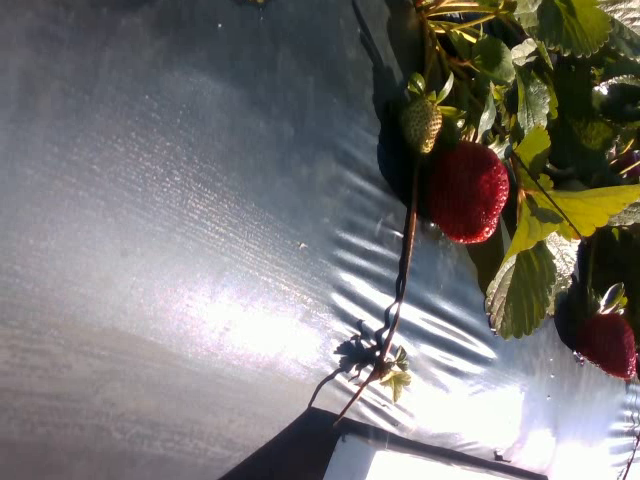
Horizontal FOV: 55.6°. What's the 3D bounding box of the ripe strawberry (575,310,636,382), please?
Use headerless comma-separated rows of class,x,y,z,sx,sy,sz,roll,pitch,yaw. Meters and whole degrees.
ripe strawberry,0.186,0.072,0.387,0.043,0.043,0.050,-13,33,4

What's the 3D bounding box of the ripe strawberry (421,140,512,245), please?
ripe strawberry,0.061,-0.017,0.249,0.043,0.053,0.042,-24,-43,17
